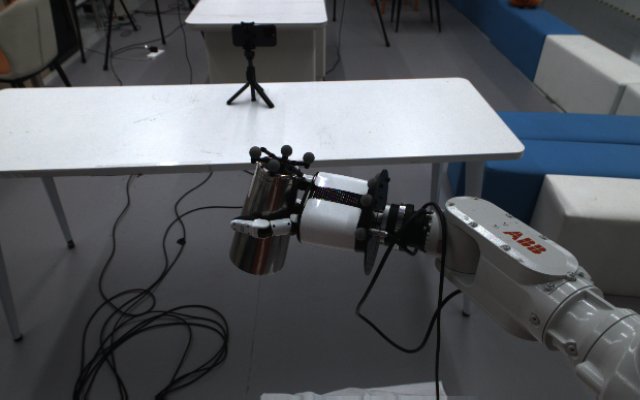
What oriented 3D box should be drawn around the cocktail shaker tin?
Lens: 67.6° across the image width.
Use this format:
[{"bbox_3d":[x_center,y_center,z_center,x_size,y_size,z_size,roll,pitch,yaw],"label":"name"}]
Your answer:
[{"bbox_3d":[-0.079,0.020,0.748,0.093,0.170,0.093,12,29,-7],"label":"cocktail shaker tin"}]
